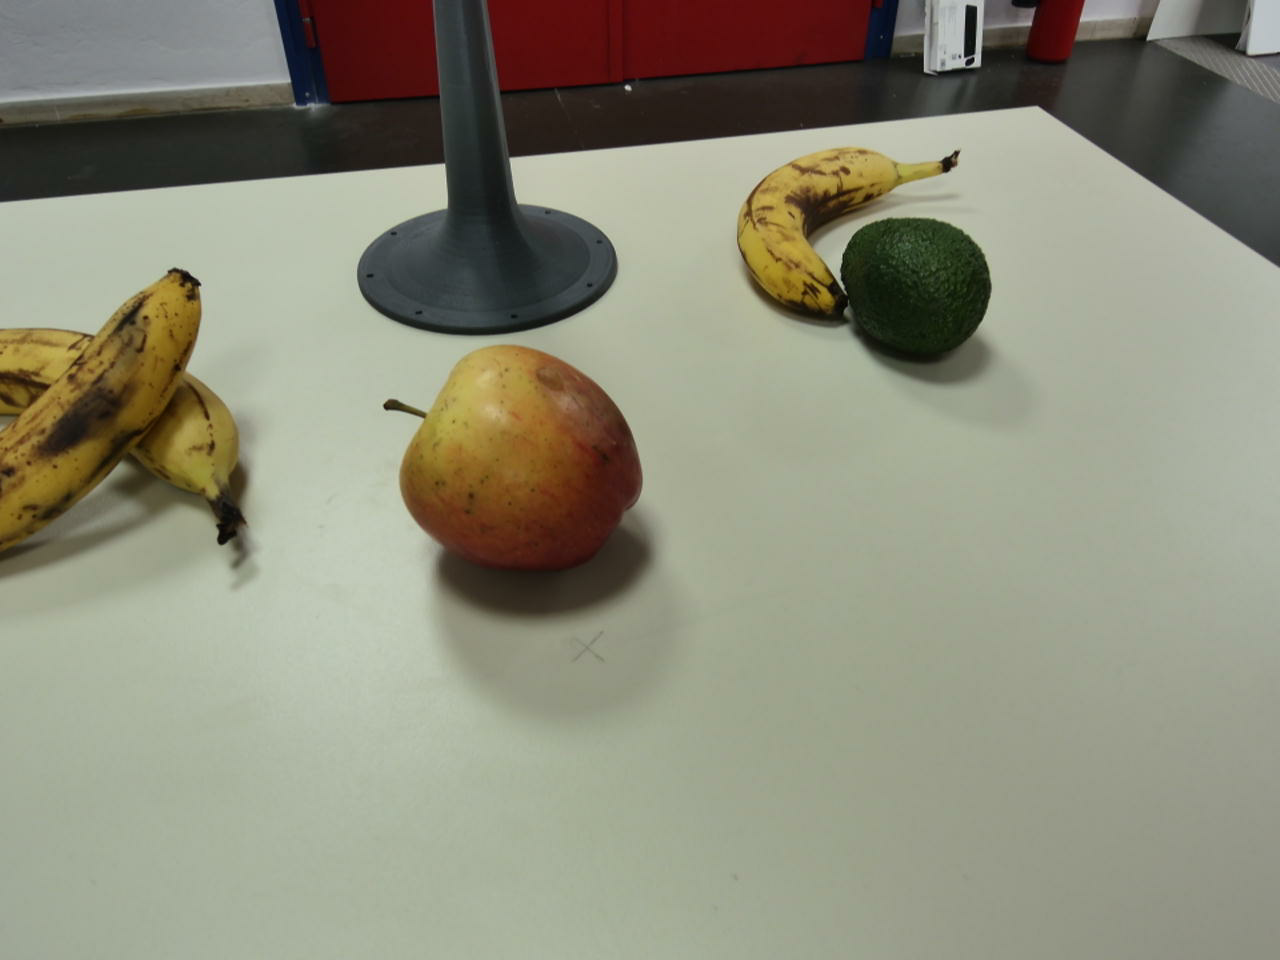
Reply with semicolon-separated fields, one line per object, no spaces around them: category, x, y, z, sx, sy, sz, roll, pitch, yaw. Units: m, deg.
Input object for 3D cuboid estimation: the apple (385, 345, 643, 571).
apple;-0.048;-0.007;0.383;0.093;0.084;0.086;29;46;31
